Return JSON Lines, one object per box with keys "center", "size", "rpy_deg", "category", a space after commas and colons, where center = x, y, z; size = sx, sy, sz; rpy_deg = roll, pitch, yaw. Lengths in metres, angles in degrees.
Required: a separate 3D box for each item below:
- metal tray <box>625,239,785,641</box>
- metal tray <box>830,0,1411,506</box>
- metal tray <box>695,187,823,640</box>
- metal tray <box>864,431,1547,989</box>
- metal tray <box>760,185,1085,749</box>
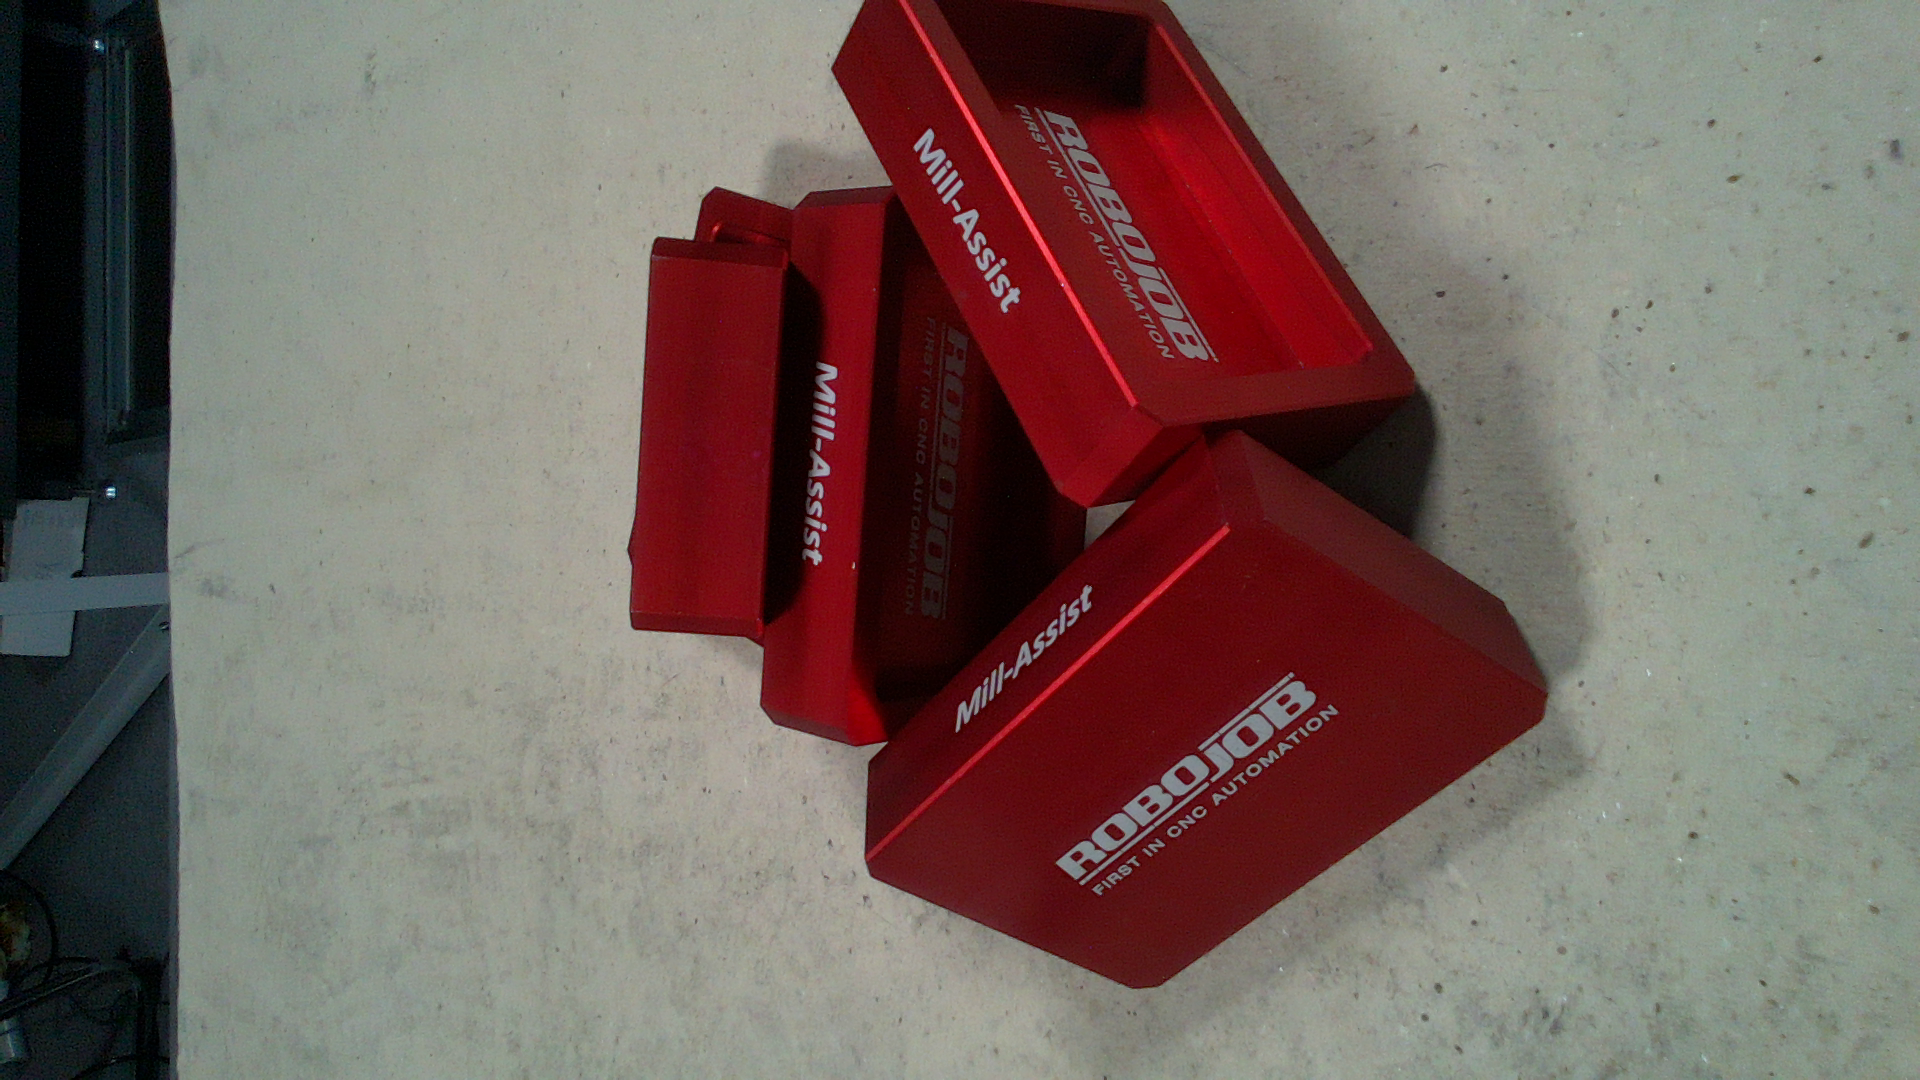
{"center": [-0.064, -0.027, 0.374], "size": [0.130, 0.030, 0.090], "rpy_deg": [-138, 52, -83], "category": "metal tray"}
{"center": [0.036, -0.074, 0.319], "size": [0.030, 0.090, 0.130], "rpy_deg": [-49, 60, 45], "category": "metal tray"}
{"center": [-0.057, -0.038, 0.439], "size": [0.090, 0.030, 0.130], "rpy_deg": [25, 106, 37], "category": "metal tray"}
{"center": [0.050, 0.046, 0.310], "size": [0.130, 0.090, 0.030], "rpy_deg": [-47, 27, 30], "category": "metal tray"}
{"center": [-0.004, -0.018, 0.356], "size": [0.030, 0.090, 0.130], "rpy_deg": [8, 96, 40], "category": "metal tray"}
